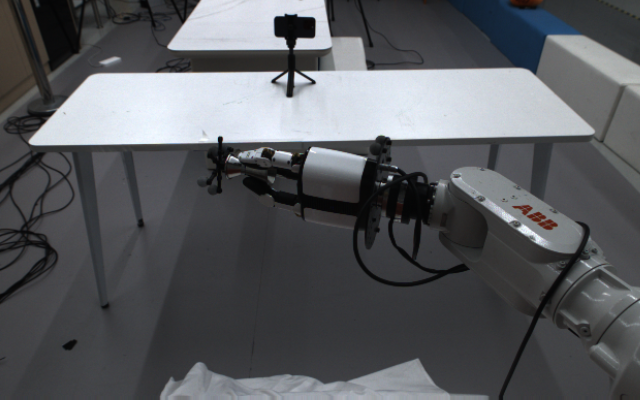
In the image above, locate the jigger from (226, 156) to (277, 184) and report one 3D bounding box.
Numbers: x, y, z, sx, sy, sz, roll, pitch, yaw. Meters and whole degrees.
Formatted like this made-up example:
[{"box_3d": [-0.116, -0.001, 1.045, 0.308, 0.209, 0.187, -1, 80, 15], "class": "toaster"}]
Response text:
[{"box_3d": [-0.098, -0.050, 0.728, 0.071, 0.043, 0.043, 7, 35, 12], "class": "jigger"}]
